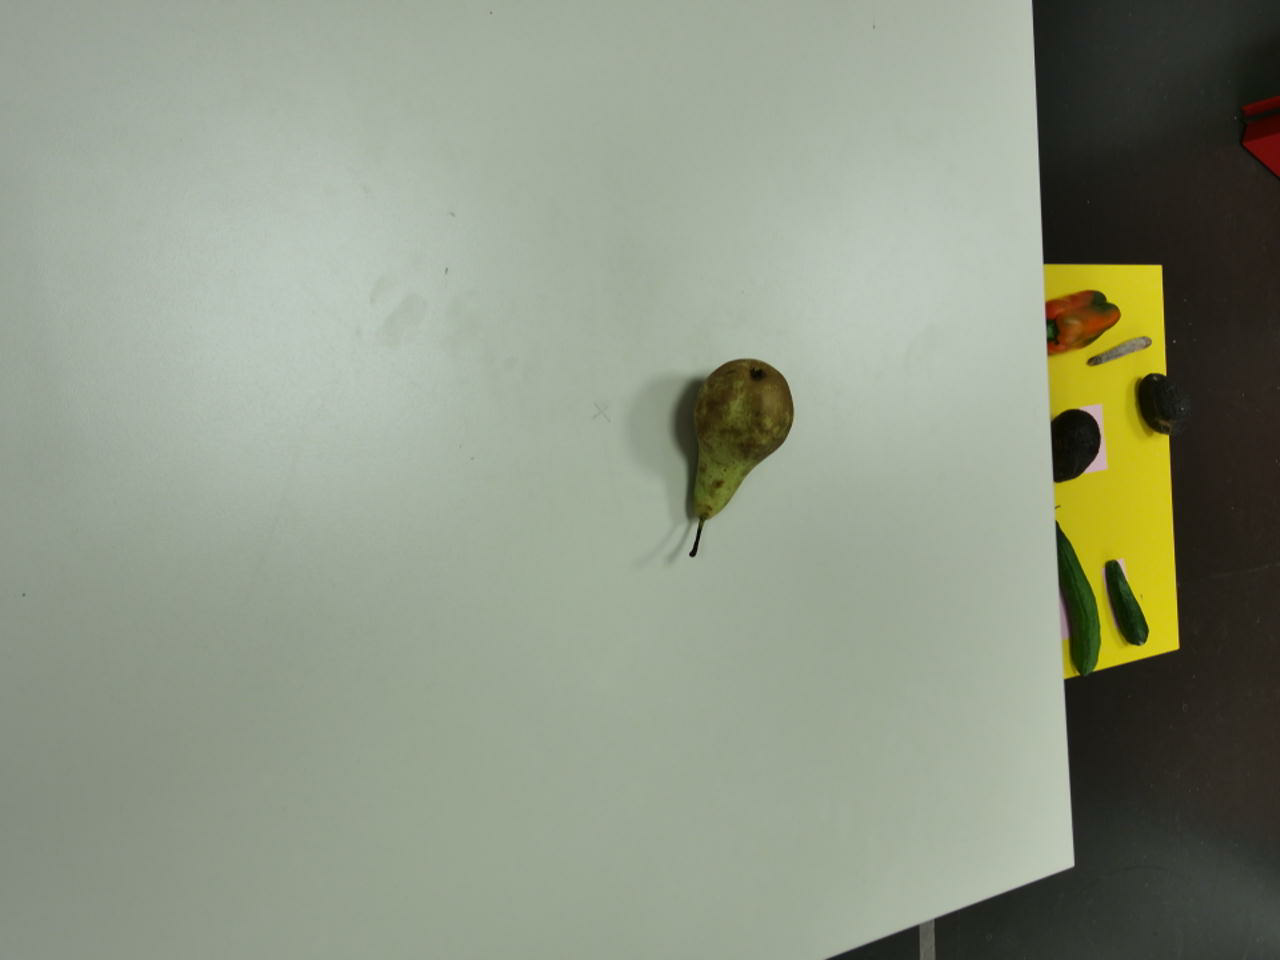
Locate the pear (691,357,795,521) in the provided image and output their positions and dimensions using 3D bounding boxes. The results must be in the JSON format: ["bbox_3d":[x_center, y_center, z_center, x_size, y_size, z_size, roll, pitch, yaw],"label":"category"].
[{"bbox_3d":[0.074,-0.017,0.731,0.071,0.075,0.144,5,89,-28],"label":"pear"}]
